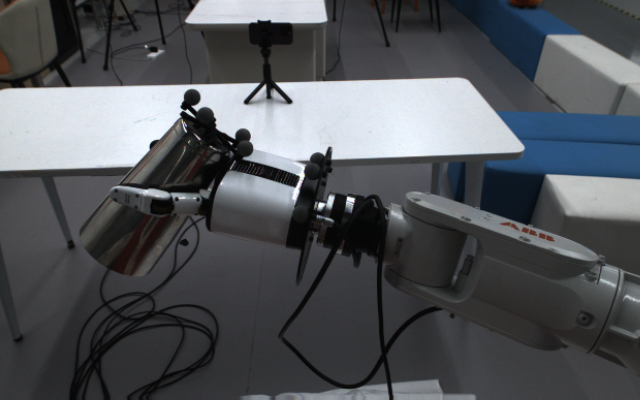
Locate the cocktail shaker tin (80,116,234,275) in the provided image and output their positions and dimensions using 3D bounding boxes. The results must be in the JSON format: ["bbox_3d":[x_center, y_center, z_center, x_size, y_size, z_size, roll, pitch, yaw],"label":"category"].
[{"bbox_3d":[-0.176,-0.010,0.540,0.093,0.170,0.093,41,13,-11],"label":"cocktail shaker tin"}]
